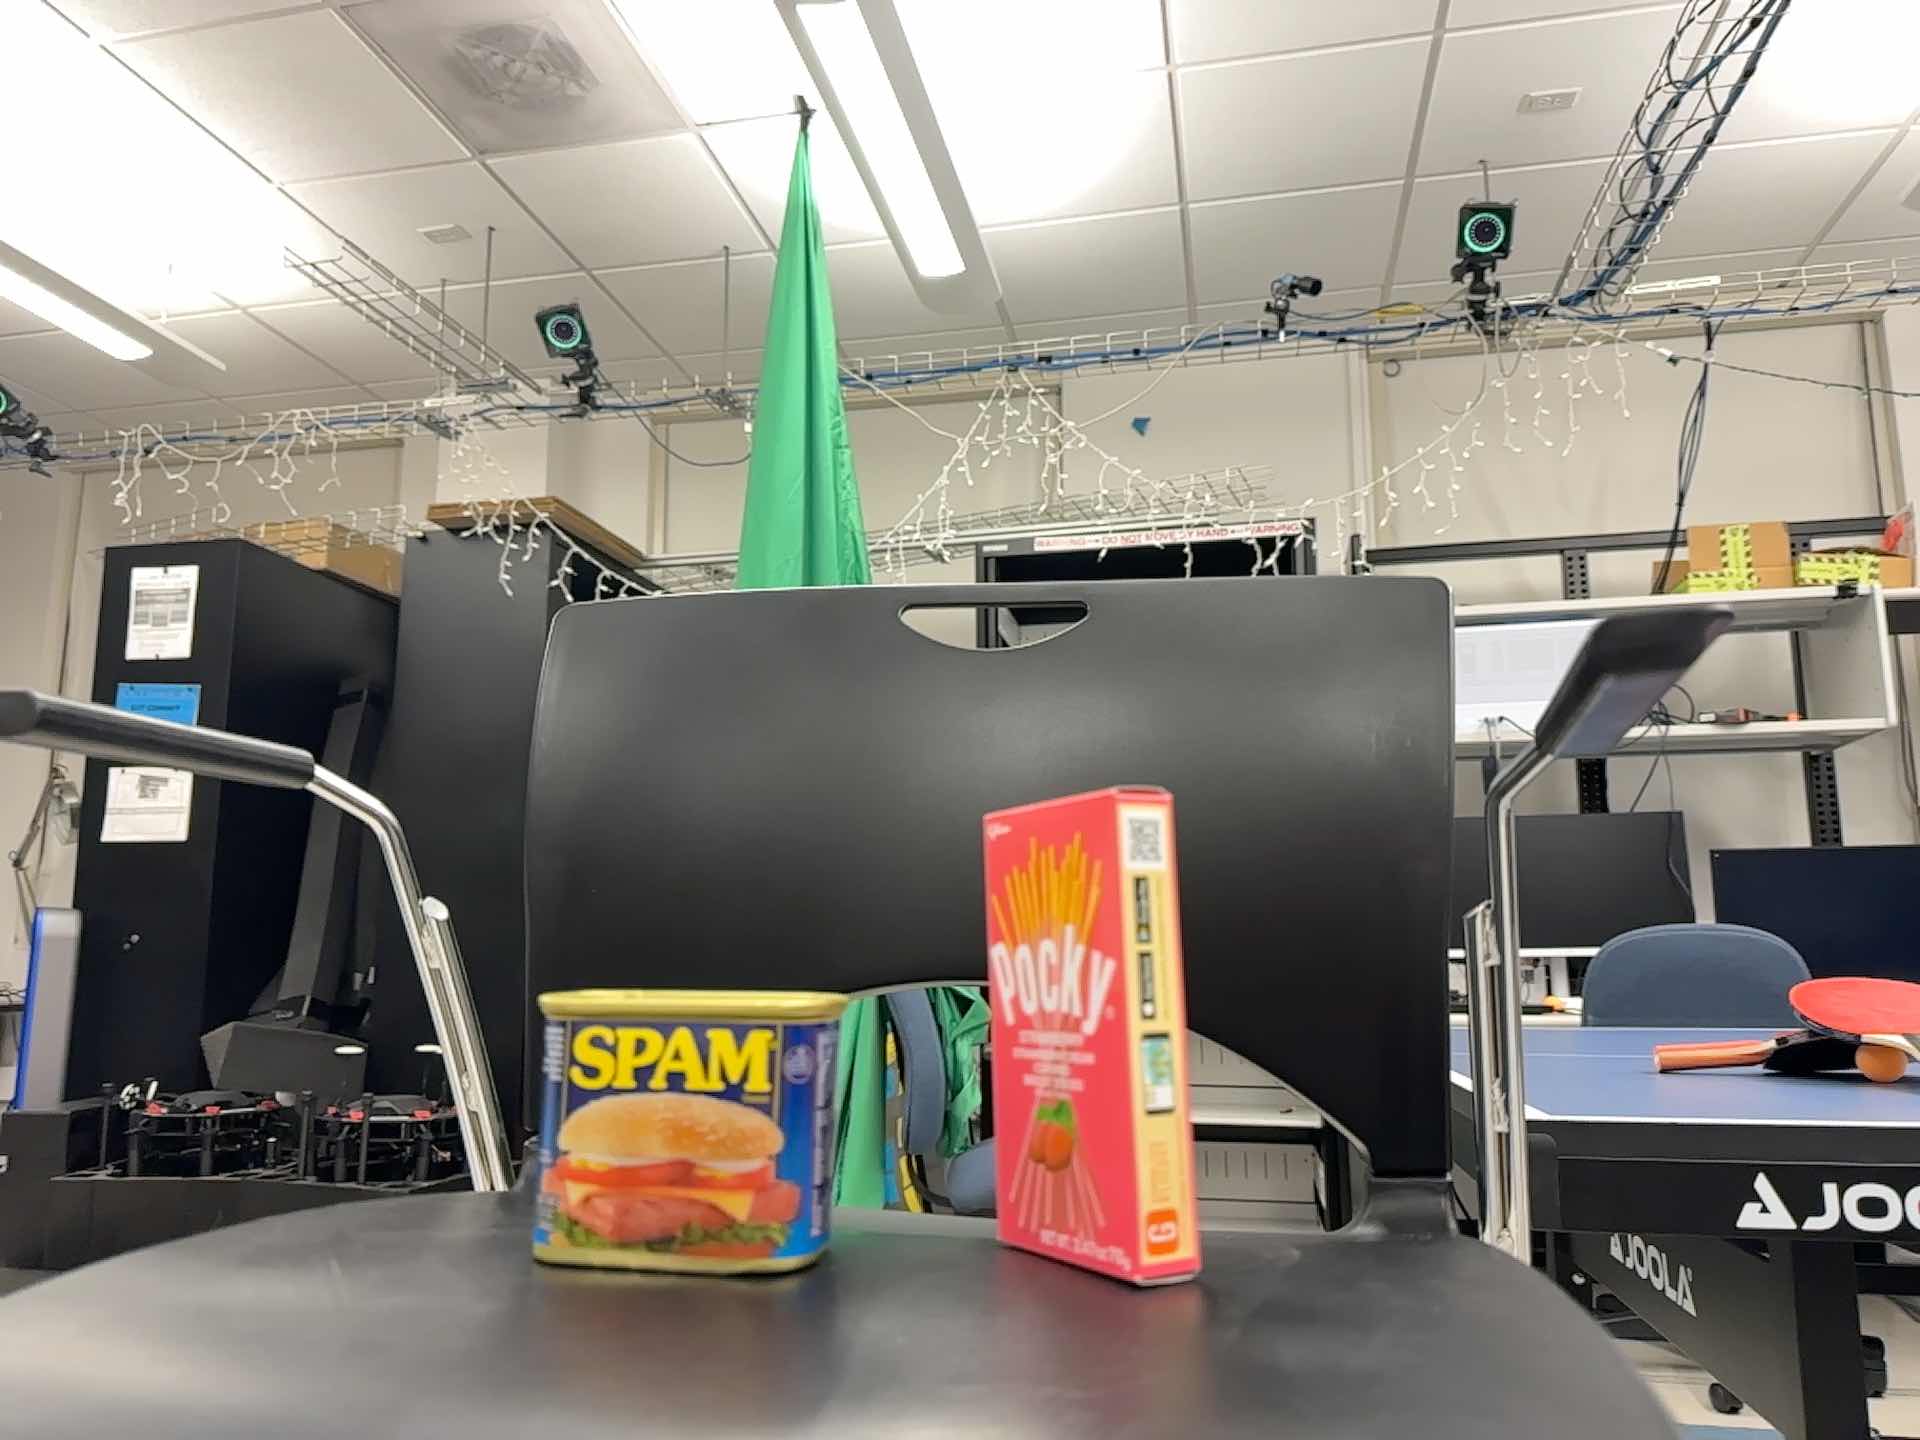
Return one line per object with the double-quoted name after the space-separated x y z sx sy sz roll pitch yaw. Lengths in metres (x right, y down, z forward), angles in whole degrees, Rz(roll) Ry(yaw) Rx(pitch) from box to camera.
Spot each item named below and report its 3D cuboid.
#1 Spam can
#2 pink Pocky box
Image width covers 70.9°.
-0.095 0.134 0.460 0.100 0.083 0.056 -2 -10 16 "Spam can"
0.043 0.102 0.458 0.029 0.154 0.084 4 -13 -29 "pink Pocky box"
